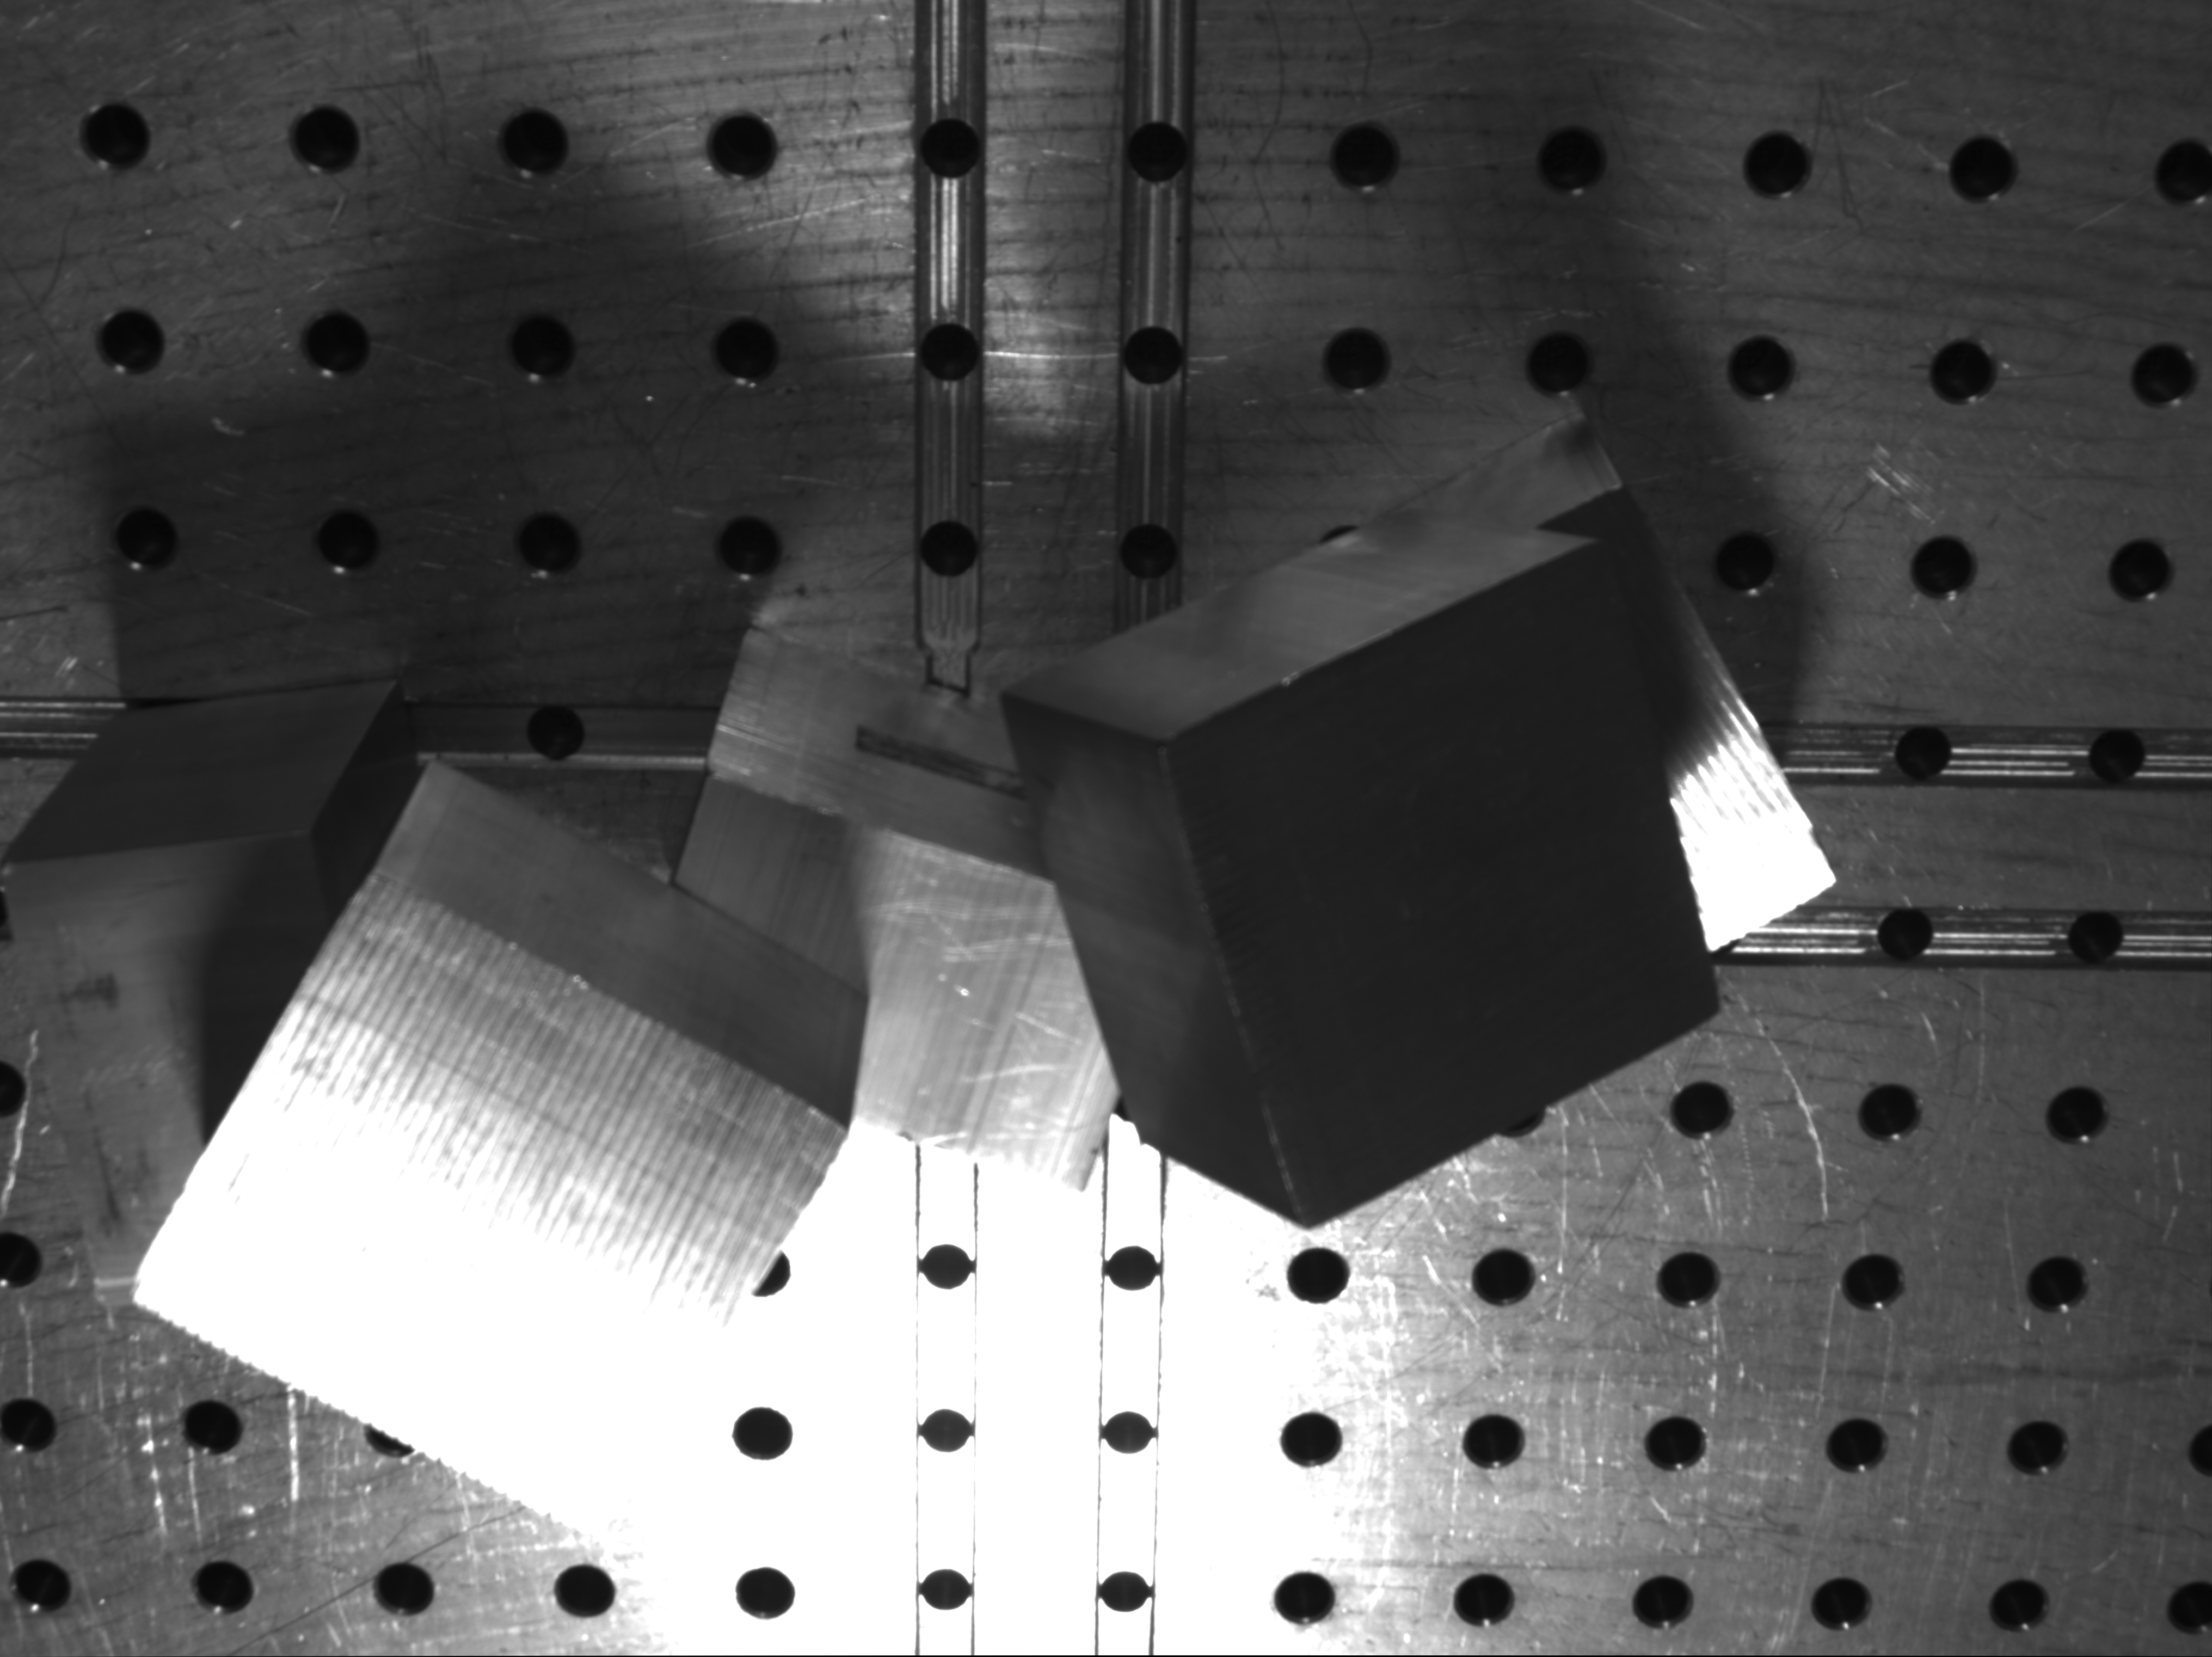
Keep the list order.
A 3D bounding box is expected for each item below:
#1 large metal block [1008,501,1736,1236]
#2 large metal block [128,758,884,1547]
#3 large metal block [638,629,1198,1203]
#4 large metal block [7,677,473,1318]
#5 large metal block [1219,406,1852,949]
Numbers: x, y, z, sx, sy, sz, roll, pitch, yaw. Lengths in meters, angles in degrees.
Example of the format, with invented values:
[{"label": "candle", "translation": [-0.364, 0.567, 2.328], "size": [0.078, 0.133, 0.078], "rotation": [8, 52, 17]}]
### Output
[{"label": "large metal block", "translation": [0.041, 0.004, 0.561], "size": [0.080, 0.050, 0.080], "rotation": [-25, 111, -22]}, {"label": "large metal block", "translation": [-0.090, 0.049, 0.563], "size": [0.080, 0.050, 0.080], "rotation": [30, 107, -10]}, {"label": "large metal block", "translation": [-0.031, 0.013, 0.620], "size": [0.080, 0.080, 0.050], "rotation": [18, 109, -7]}, {"label": "large metal block", "translation": [-0.143, 0.027, 0.624], "size": [0.050, 0.080, 0.080], "rotation": [-6, 110, 2]}, {"label": "large metal block", "translation": [0.070, -0.013, 0.628], "size": [0.080, 0.050, 0.080], "rotation": [-29, 108, 9]}]
